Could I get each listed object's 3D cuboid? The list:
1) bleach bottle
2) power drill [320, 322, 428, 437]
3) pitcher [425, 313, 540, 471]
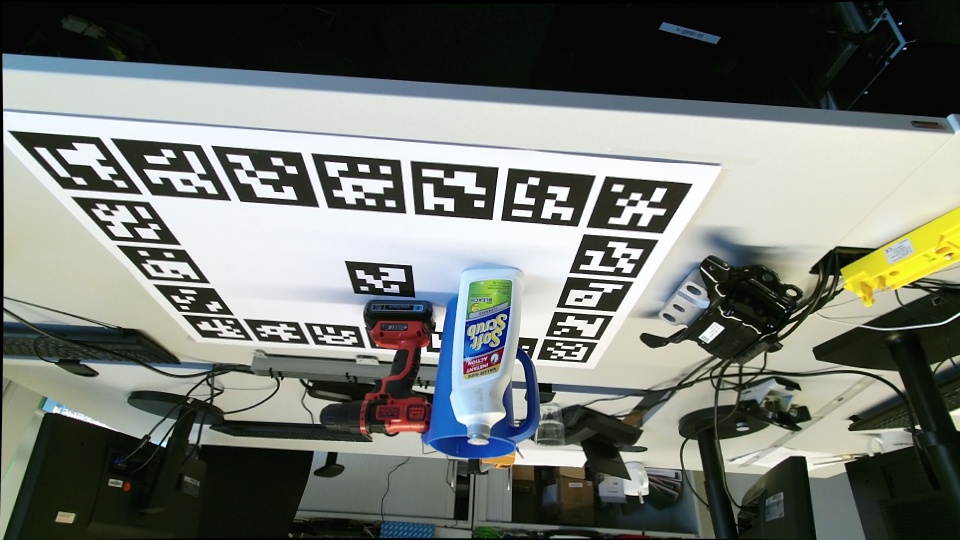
[{"bbox_3d":[0.017,0.145,0.762,0.103,0.249,0.068,-2,145,5],"label":"bleach bottle"},{"bbox_3d":[-0.167,0.179,0.875,0.185,0.186,0.057,5,143,7],"label":"power drill"},{"bbox_3d":[0.002,0.185,0.857,0.189,0.241,0.133,-13,141,21],"label":"pitcher"}]
